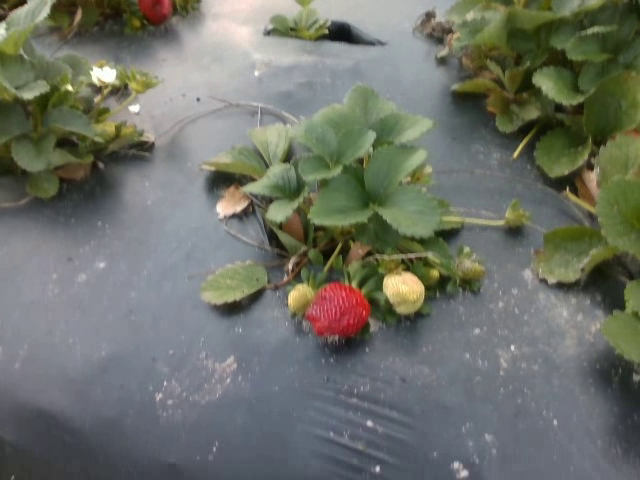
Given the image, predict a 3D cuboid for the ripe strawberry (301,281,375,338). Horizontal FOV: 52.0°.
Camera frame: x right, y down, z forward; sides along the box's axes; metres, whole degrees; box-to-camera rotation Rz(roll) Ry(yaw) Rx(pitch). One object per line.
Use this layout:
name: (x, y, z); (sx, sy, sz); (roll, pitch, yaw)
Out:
ripe strawberry: (0.011, 0.054, 0.456); (0.046, 0.046, 0.059); (11, 19, 26)
